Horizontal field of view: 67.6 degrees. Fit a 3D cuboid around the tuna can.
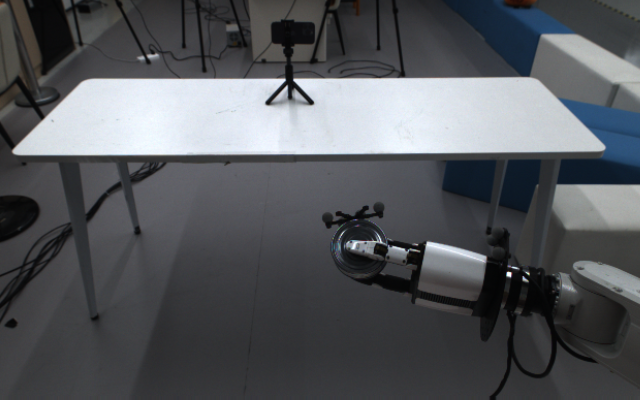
[{"bbox_3d":[0.063,0.077,0.711,0.085,0.034,0.085,-4,68,9],"label":"tuna can"}]
